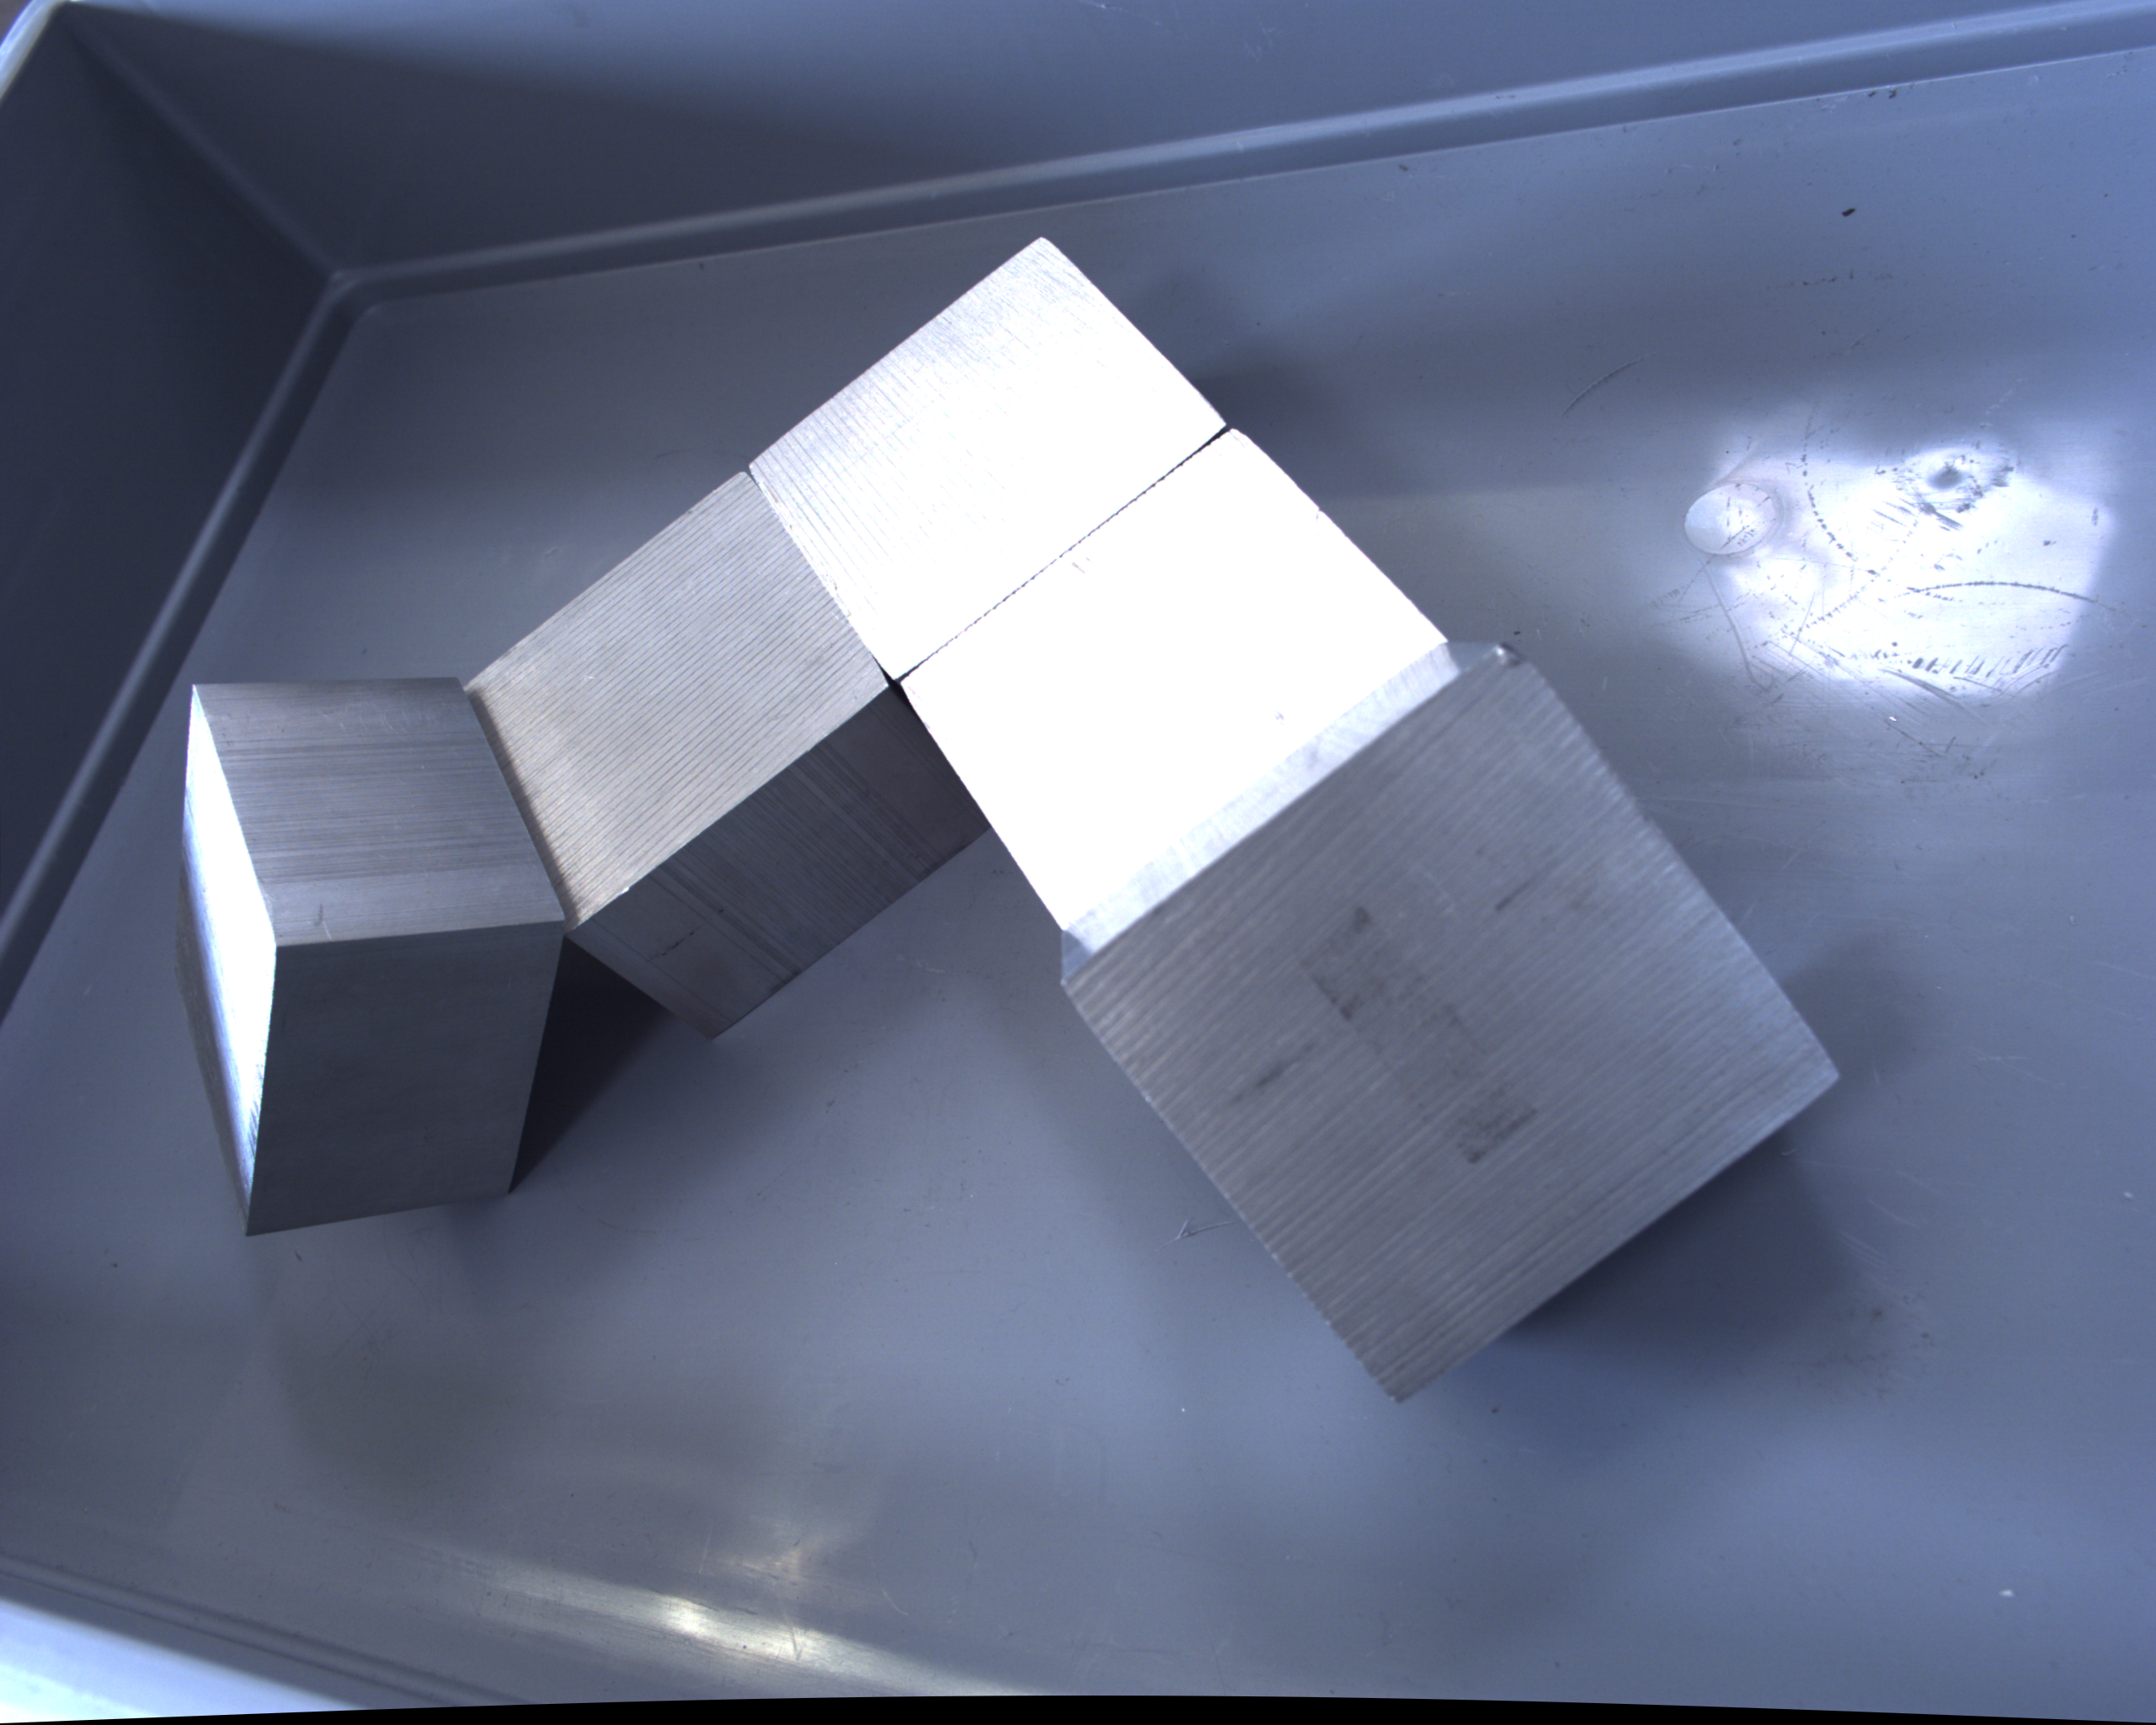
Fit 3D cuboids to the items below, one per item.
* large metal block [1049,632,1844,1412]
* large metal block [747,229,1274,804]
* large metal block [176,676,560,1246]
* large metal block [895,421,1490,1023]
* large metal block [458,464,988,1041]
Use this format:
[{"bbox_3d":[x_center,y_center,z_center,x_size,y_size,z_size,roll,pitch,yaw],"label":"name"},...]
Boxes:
[{"bbox_3d":[0.052,0.021,0.320,0.080,0.050,0.080,-38,95,3],"label":"large metal block"},{"bbox_3d":[-0.010,-0.073,0.437,0.080,0.050,0.080,-38,51,3],"label":"large metal block"},{"bbox_3d":[-0.149,0.018,0.427,0.080,0.050,0.079,55,136,39],"label":"large metal block"},{"bbox_3d":[0.026,-0.021,0.387,0.080,0.050,0.080,-38,51,3],"label":"large metal block"},{"bbox_3d":[-0.074,-0.024,0.441,0.080,0.050,0.080,-38,51,3],"label":"large metal block"}]
